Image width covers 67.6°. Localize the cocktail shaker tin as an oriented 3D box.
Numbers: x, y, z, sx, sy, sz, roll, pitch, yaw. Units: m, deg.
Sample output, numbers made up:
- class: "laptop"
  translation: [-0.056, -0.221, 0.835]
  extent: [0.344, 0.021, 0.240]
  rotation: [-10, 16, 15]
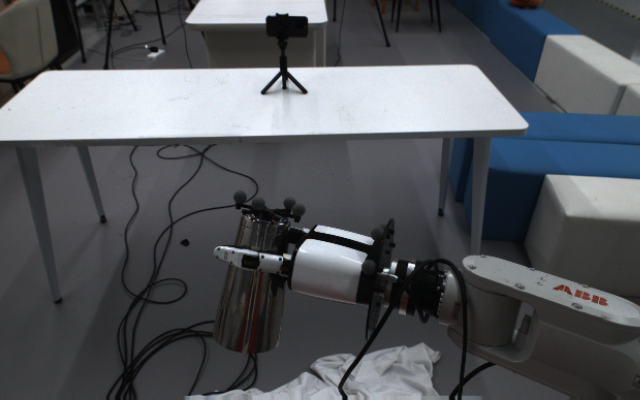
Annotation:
- class: "cocktail shaker tin"
  translation: [-0.082, 0.103, 0.650]
  extent: [0.093, 0.170, 0.093]
  rotation: [10, 9, -2]
